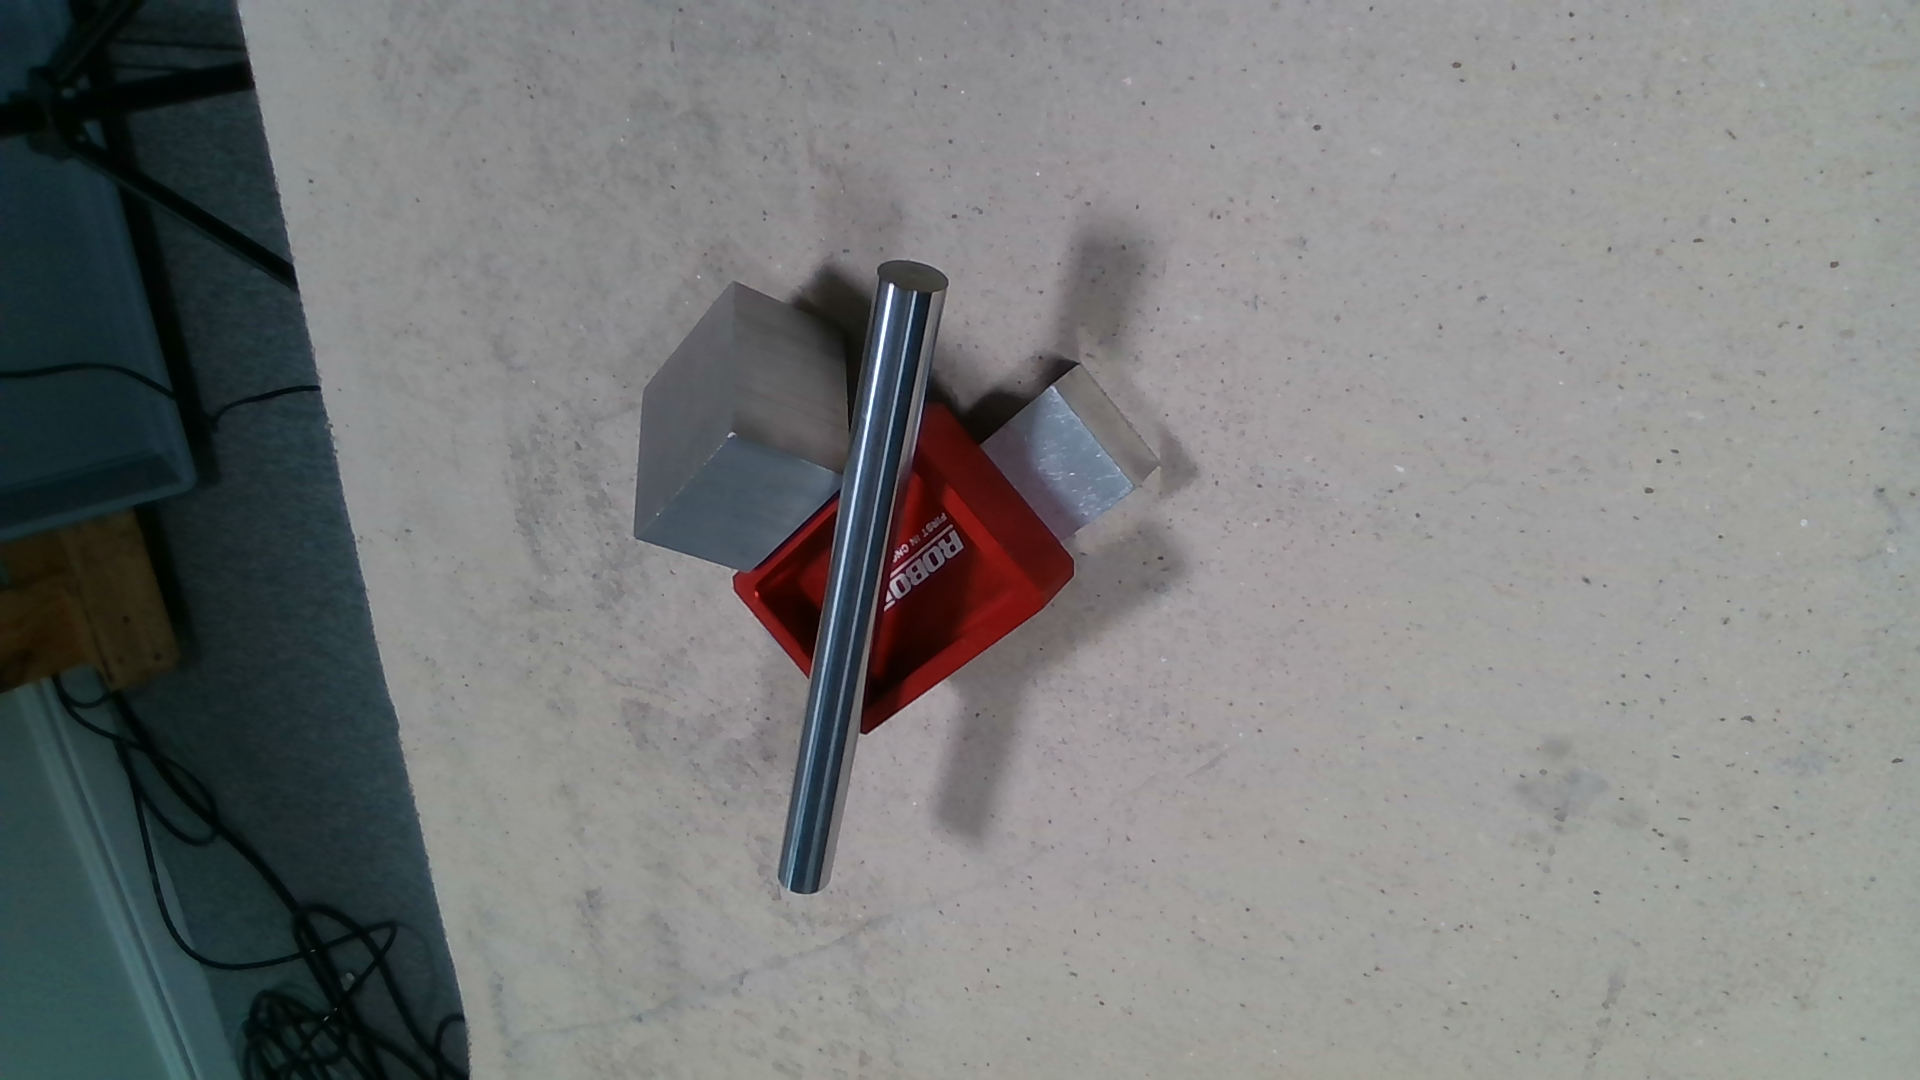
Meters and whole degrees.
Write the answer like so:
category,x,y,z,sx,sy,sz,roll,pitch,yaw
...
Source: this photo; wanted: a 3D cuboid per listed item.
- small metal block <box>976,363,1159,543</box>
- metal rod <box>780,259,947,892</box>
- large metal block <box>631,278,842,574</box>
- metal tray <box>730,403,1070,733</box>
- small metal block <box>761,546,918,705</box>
category,x,y,z,sx,sy,sz,roll,pitch,yaw
small metal block,0.040,-0.032,0.537,0.050,0.025,0.050,51,129,-2
metal rod,-0.044,0.031,0.553,0.025,0.025,0.301,25,126,18
large metal block,-0.092,-0.045,0.565,0.050,0.080,0.080,20,138,-32
metal tray,-0.028,0.015,0.569,0.090,0.030,0.130,50,129,-2
small metal block,-0.056,0.040,0.636,0.050,0.025,0.050,46,129,2
